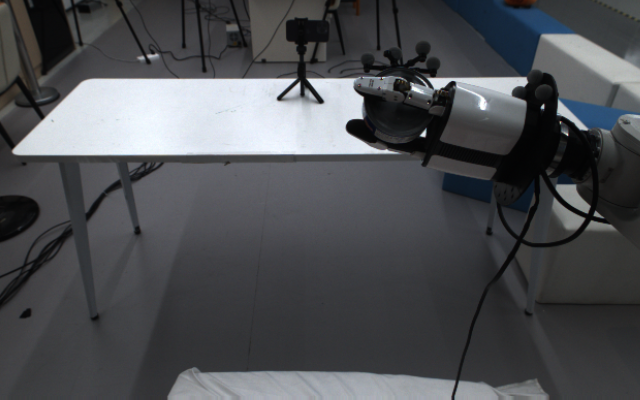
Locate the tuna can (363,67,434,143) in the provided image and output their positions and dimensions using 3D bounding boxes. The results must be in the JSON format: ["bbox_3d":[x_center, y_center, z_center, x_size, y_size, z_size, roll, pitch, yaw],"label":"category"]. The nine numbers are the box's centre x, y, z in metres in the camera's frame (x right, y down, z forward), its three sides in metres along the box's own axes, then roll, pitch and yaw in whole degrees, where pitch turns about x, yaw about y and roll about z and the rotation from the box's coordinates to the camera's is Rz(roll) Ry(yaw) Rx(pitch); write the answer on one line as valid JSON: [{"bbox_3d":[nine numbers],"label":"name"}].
[{"bbox_3d":[0.093,-0.114,0.577,0.085,0.034,0.085,0,74,0],"label":"tuna can"}]
